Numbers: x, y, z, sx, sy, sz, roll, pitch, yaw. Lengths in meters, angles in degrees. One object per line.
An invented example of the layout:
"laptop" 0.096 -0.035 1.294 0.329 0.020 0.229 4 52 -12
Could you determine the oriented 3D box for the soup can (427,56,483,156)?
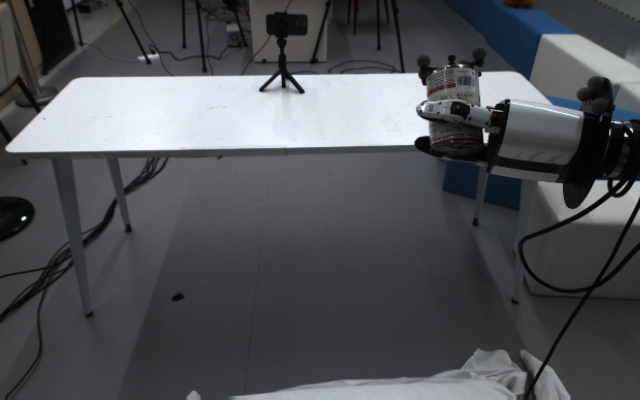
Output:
"soup can" 0.174 -0.114 0.623 0.067 0.101 0.067 -1 -9 0
